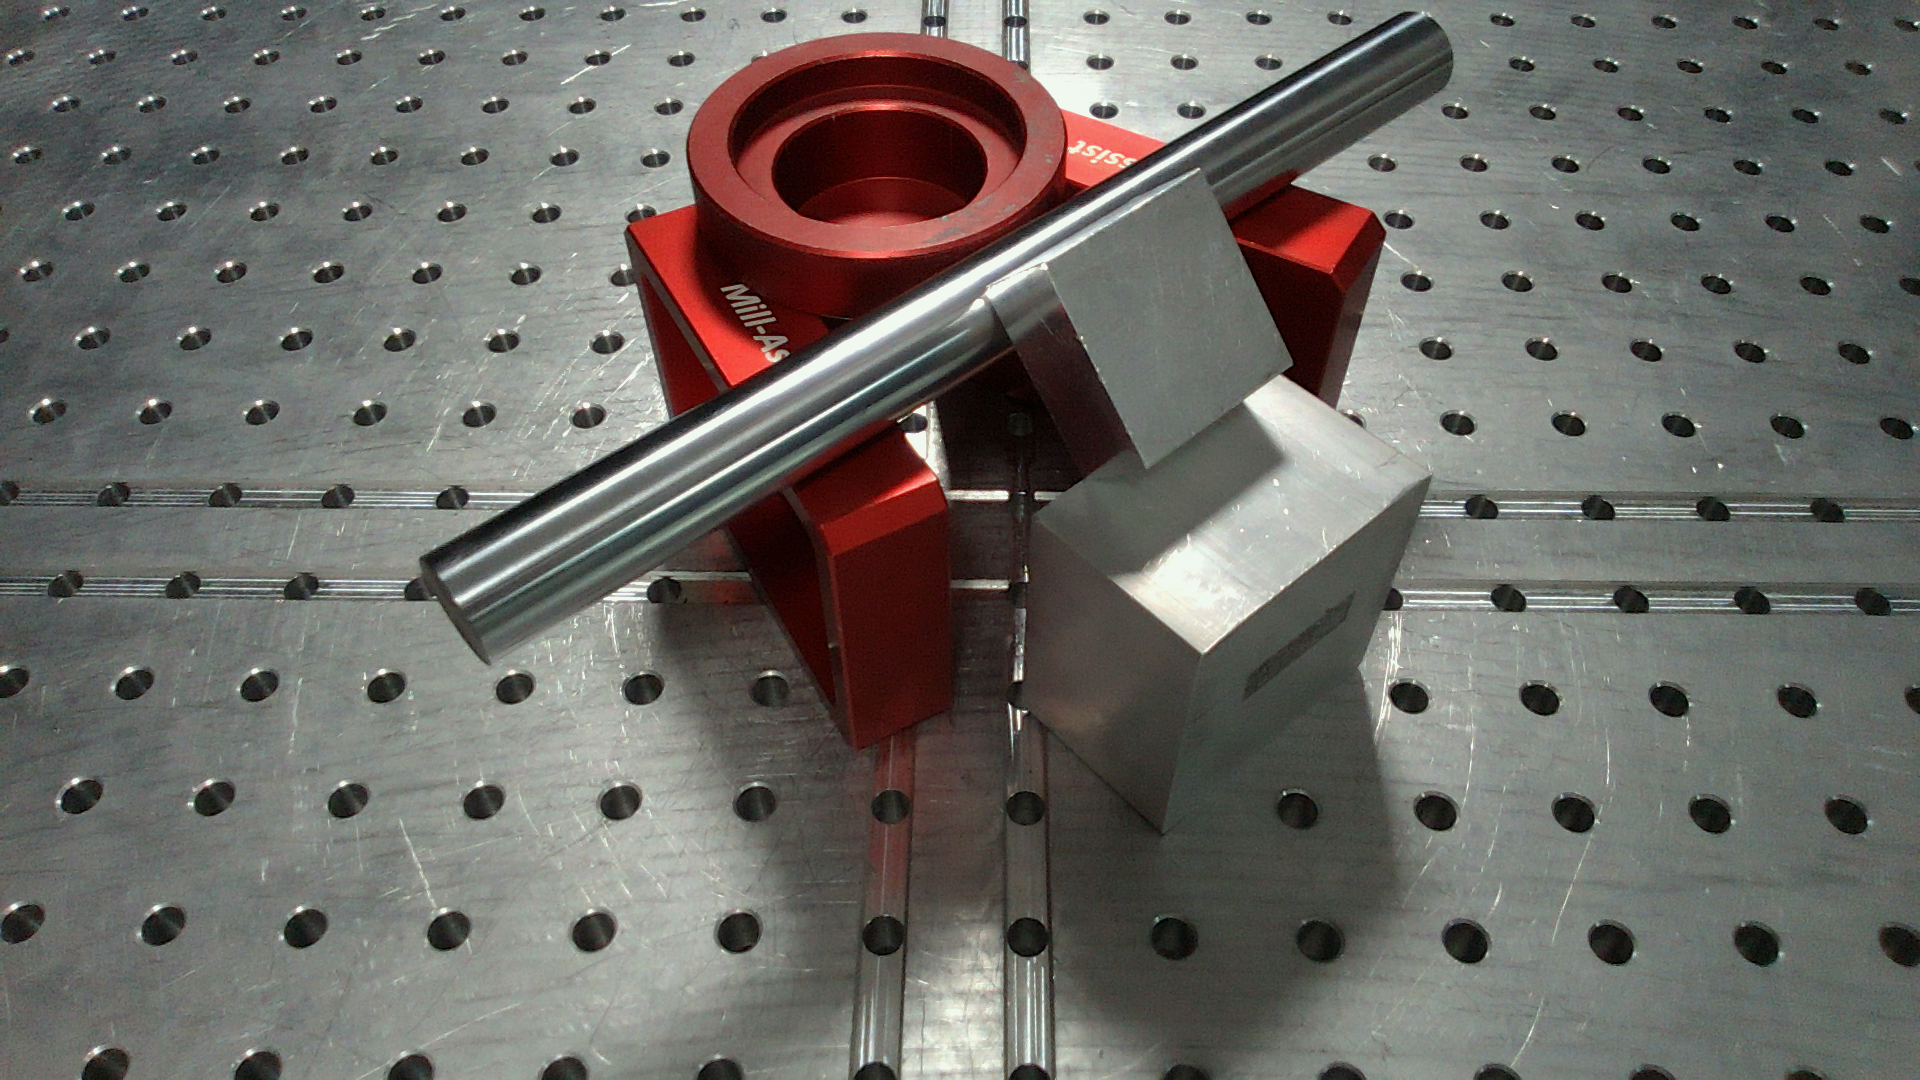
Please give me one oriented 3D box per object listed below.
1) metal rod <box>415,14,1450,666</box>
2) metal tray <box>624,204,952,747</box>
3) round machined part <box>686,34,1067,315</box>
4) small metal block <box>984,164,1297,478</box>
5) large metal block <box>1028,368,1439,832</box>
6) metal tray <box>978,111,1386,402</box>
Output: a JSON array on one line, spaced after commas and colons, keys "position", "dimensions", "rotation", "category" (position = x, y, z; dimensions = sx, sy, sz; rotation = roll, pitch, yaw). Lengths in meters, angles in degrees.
[{"position": [0.015, -0.062, 0.329], "dimensions": [0.301, 0.025, 0.025], "rotation": [-34, 57, -25], "category": "metal rod"}, {"position": [-0.046, -0.020, 0.369], "dimensions": [0.030, 0.090, 0.130], "rotation": [-23, 54, -18], "category": "metal tray"}, {"position": [-0.021, -0.092, 0.371], "dimensions": [0.098, 0.042, 0.098], "rotation": [0, 50, 0], "category": "round machined part"}, {"position": [0.042, -0.049, 0.313], "dimensions": [0.050, 0.050, 0.025], "rotation": [-35, 13, -26], "category": "small metal block"}, {"position": [0.064, 0.013, 0.344], "dimensions": [0.080, 0.080, 0.050], "rotation": [-34, 58, -25], "category": "large metal block"}, {"position": [0.052, -0.074, 0.413], "dimensions": [0.130, 0.090, 0.030], "rotation": [25, 55, 20], "category": "metal tray"}]
